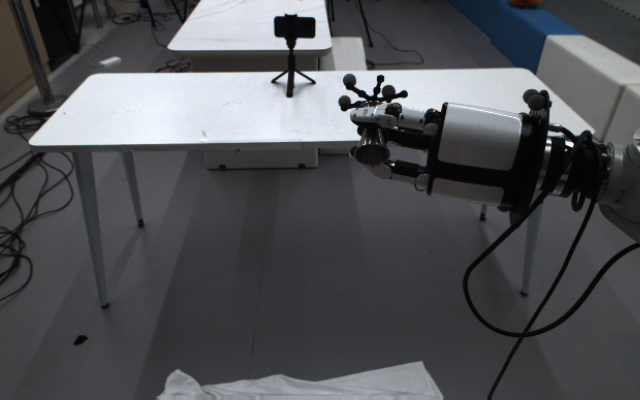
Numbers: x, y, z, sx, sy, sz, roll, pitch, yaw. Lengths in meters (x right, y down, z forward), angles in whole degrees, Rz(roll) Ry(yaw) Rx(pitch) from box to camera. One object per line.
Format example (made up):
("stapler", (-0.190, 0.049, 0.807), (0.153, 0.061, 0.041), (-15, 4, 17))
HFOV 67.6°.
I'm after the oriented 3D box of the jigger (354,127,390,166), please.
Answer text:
("jigger", (0.063, -0.085, 0.594), (0.043, 0.043, 0.071), (4, 61, 3))
